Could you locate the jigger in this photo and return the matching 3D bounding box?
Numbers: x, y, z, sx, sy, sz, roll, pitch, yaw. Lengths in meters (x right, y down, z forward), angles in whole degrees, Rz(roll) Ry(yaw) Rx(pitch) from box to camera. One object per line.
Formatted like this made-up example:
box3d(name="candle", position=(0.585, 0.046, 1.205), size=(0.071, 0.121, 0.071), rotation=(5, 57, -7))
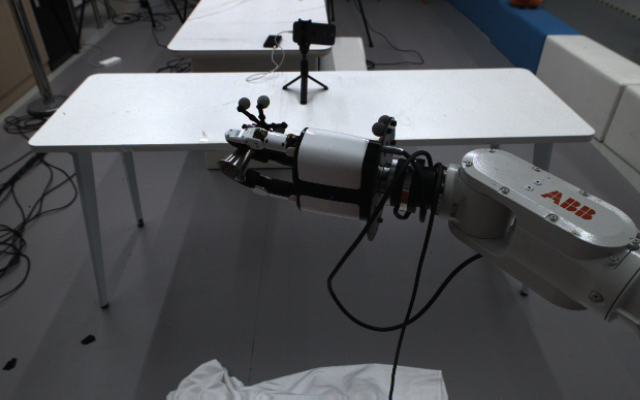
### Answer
box3d(name="jigger", position=(-0.103, -0.067, 0.651), size=(0.043, 0.043, 0.071), rotation=(19, 61, 23))
